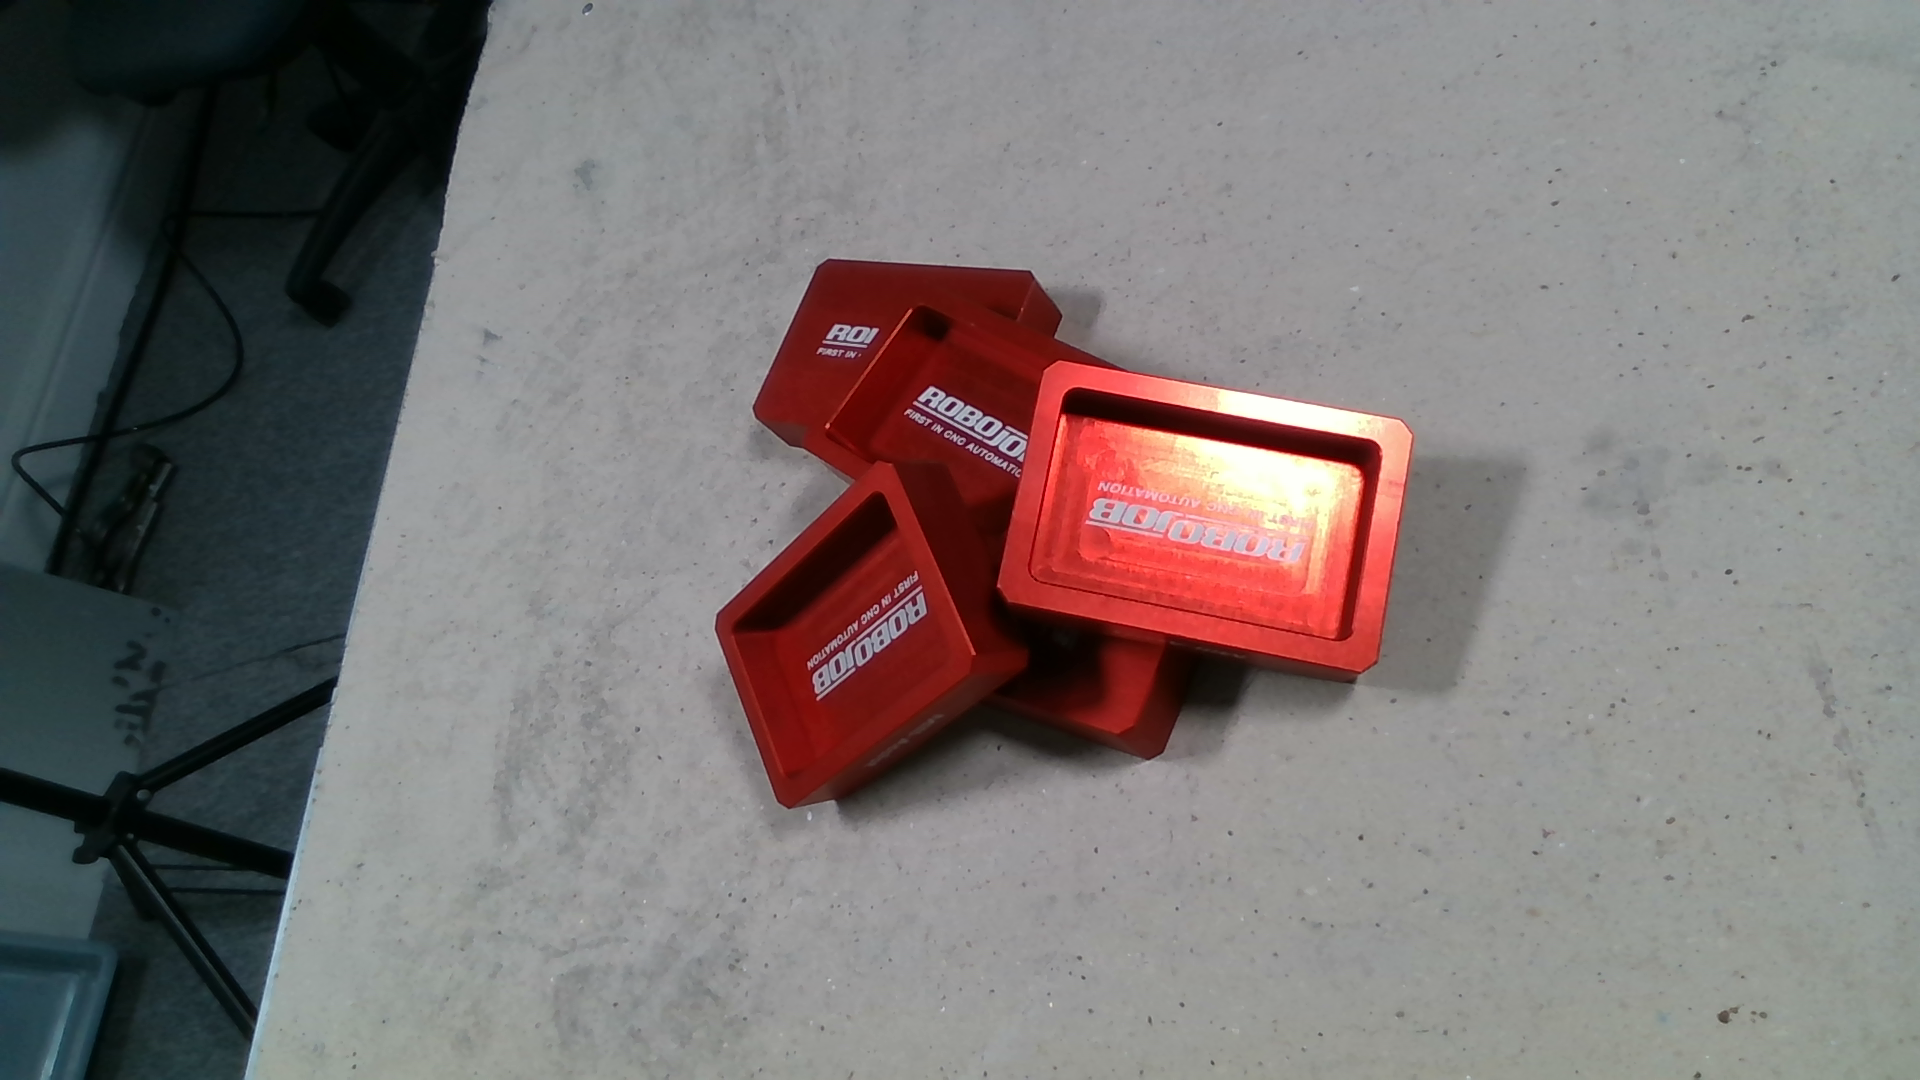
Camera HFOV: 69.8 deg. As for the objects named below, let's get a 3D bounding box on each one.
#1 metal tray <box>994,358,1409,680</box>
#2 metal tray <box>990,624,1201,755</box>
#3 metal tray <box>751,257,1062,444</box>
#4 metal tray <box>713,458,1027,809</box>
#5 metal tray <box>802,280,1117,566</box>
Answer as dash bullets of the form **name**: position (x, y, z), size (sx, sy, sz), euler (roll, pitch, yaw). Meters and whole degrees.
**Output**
- **metal tray**: position (0.084, -0.008, 0.490), size (0.130, 0.030, 0.090), euler (11, 81, 6)
- **metal tray**: position (0.058, 0.010, 0.541), size (0.090, 0.030, 0.130), euler (14, 74, 36)
- **metal tray**: position (-0.027, -0.084, 0.642), size (0.130, 0.030, 0.090), euler (11, 72, 35)
- **metal tray**: position (-0.040, 0.039, 0.543), size (0.130, 0.030, 0.090), euler (-40, 65, 38)
- **metal tray**: position (0.005, -0.046, 0.565), size (0.130, 0.030, 0.090), euler (32, 84, 39)
